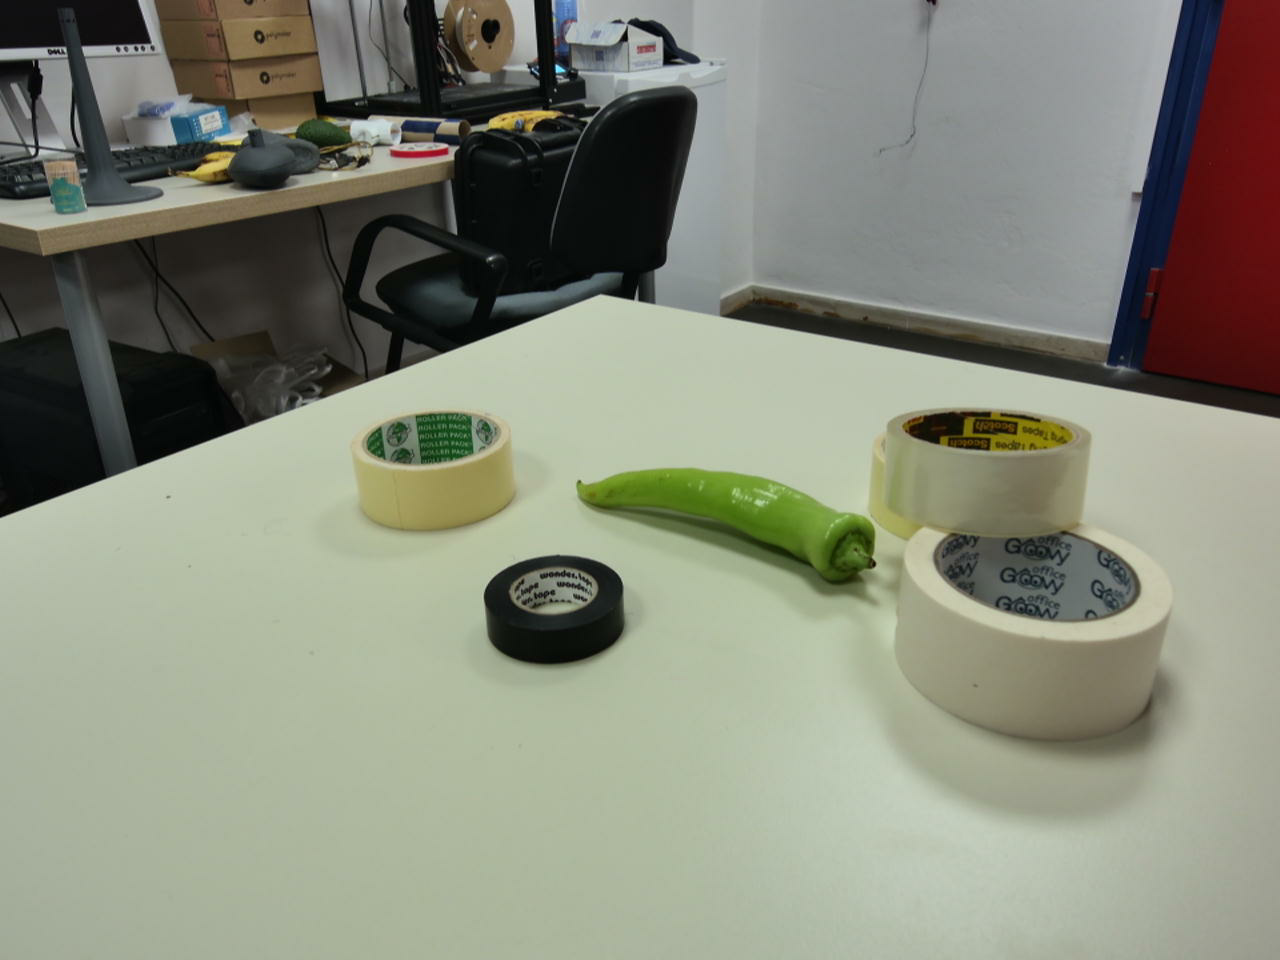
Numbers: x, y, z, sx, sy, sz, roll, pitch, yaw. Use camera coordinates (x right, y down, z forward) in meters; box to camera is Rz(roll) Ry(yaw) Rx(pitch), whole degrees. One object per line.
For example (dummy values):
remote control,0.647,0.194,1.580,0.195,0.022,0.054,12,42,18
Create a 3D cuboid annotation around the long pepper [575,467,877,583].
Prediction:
long pepper,0.046,0.013,0.544,0.197,0.038,0.046,19,30,35
